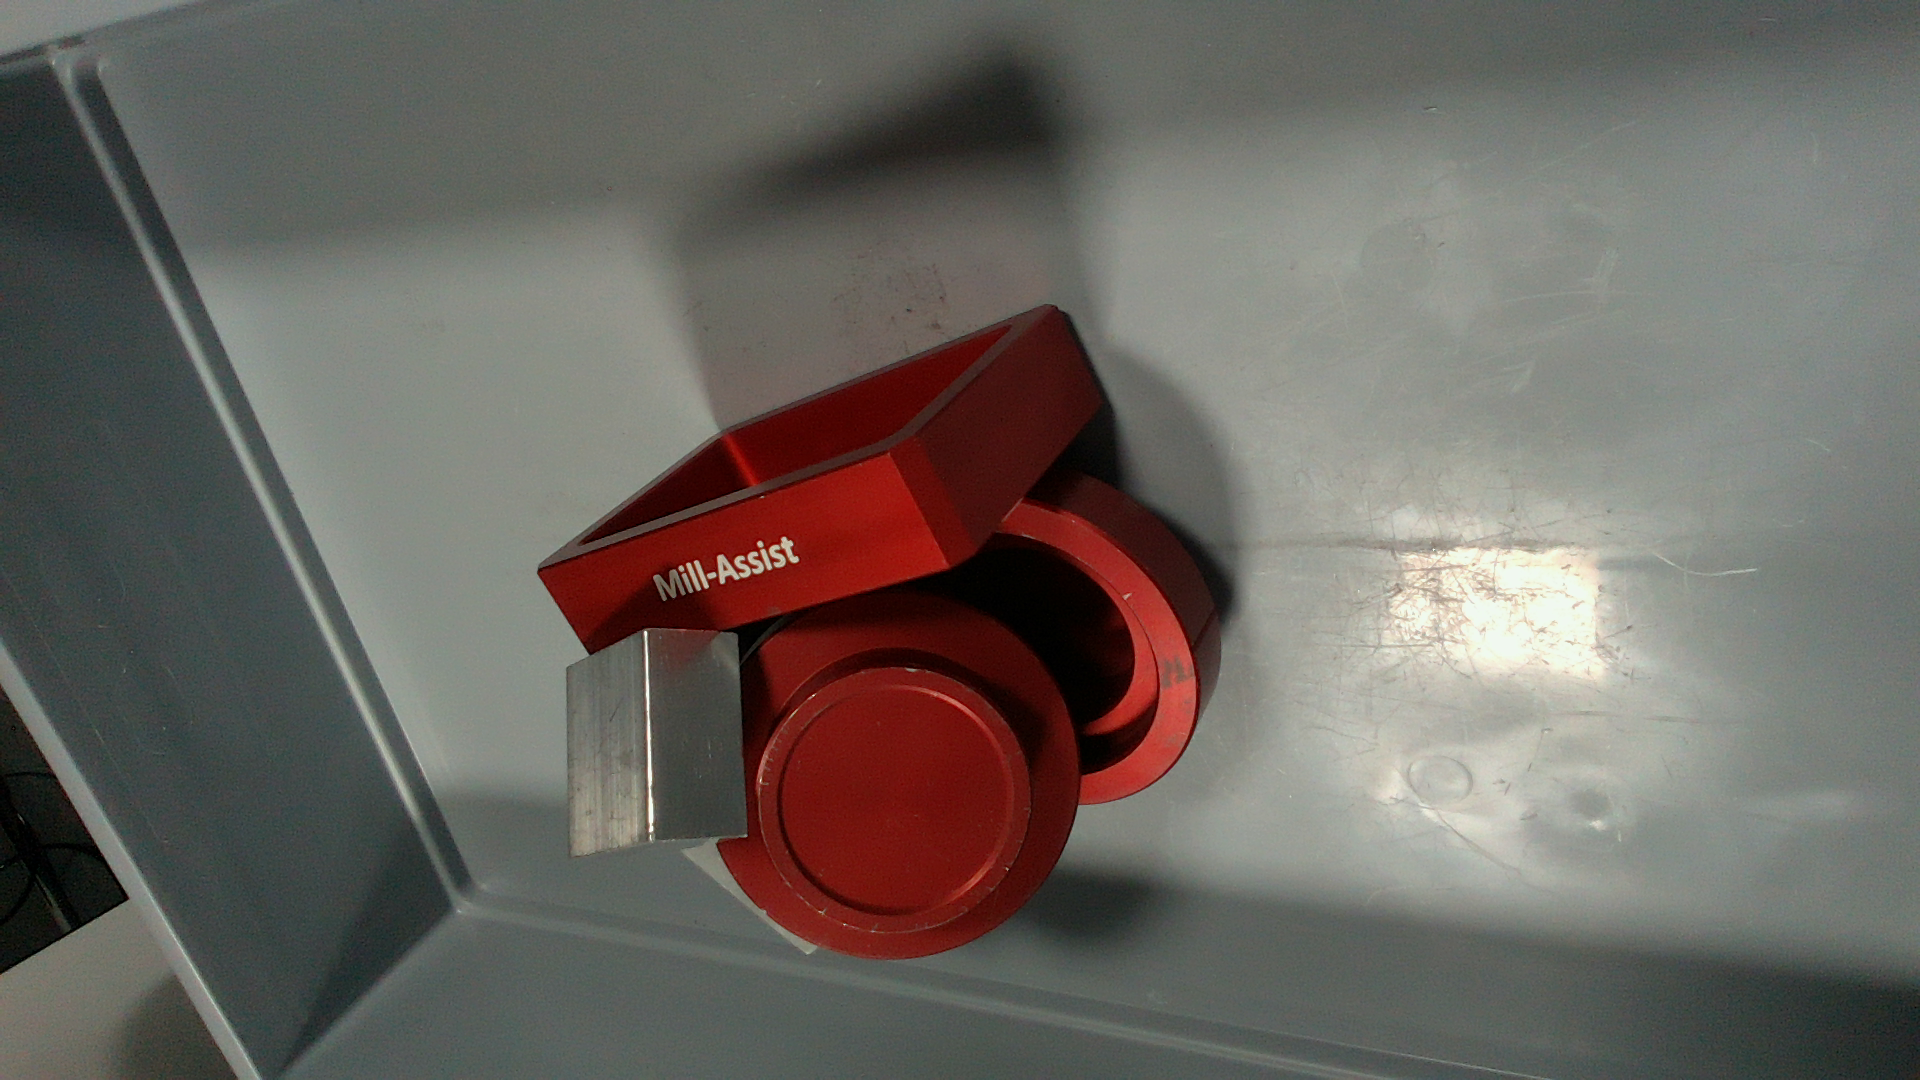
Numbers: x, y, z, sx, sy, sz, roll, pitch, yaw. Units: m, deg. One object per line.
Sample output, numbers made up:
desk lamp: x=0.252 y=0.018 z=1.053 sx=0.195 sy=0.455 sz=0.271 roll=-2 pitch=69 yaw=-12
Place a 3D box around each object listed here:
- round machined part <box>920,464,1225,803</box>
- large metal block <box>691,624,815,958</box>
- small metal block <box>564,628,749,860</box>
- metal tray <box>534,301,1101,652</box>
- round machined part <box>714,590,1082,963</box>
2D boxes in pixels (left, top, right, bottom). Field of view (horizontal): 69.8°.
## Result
round machined part: x=0.026 y=0.021 z=0.381 sx=0.098 sy=0.042 sz=0.098 roll=13 pitch=124 yaw=21
large metal block: x=-0.046 y=0.063 z=0.420 sx=0.080 sy=0.080 sz=0.050 roll=39 pitch=129 yaw=2
small metal block: x=-0.077 y=0.052 z=0.346 sx=0.050 sy=0.025 sz=0.050 roll=-23 pitch=67 yaw=50
metal tray: x=-0.038 y=-0.014 z=0.360 sx=0.129 sy=0.090 sz=0.030 roll=-16 pitch=110 yaw=35
round machined part: x=-0.017 y=0.062 z=0.353 sx=0.098 sy=0.042 sz=0.098 roll=-1 pitch=96 yaw=-5
